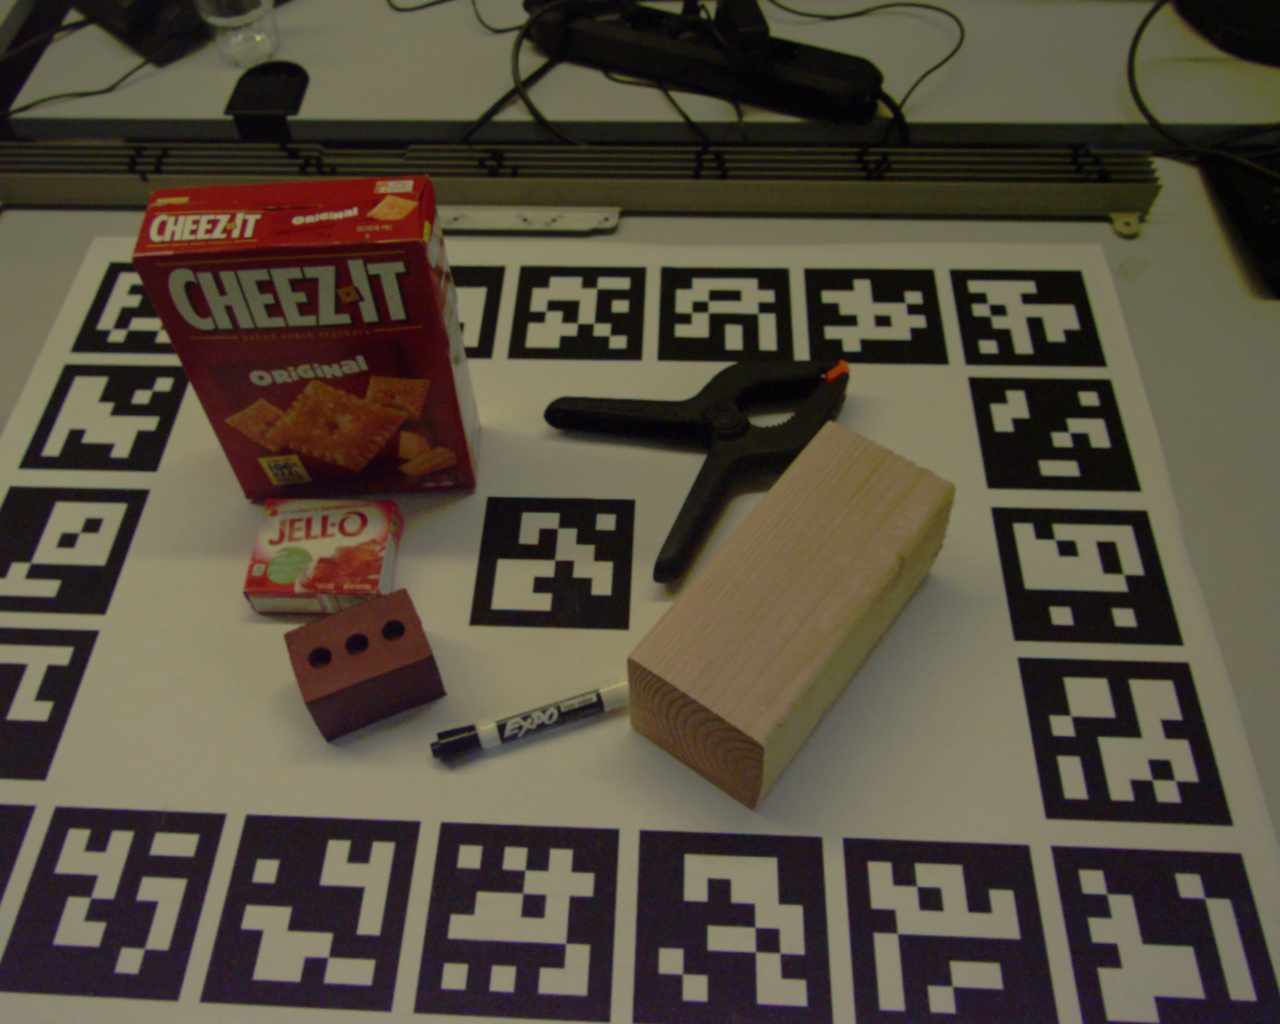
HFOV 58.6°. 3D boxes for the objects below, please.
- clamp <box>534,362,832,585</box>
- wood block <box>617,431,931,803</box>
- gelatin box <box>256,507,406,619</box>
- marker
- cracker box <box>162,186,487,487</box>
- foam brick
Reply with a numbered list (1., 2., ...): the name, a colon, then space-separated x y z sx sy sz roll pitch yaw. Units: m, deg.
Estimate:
1. clamp: 0.050 -0.053 0.807 0.202 0.036 0.167 -26 59 -13
2. wood block: 0.083 0.059 0.701 0.091 0.090 0.205 30 60 23
3. gelatin box: -0.207 0.034 0.770 0.089 0.030 0.073 -1 58 3
4. marker: -0.080 0.129 0.700 0.120 0.019 0.020 -16 59 -8
5. cracker box: -0.192 -0.104 0.743 0.164 0.213 0.072 -1 55 -1
6. foam brick: -0.169 0.095 0.710 0.078 0.051 0.053 -20 59 -10
